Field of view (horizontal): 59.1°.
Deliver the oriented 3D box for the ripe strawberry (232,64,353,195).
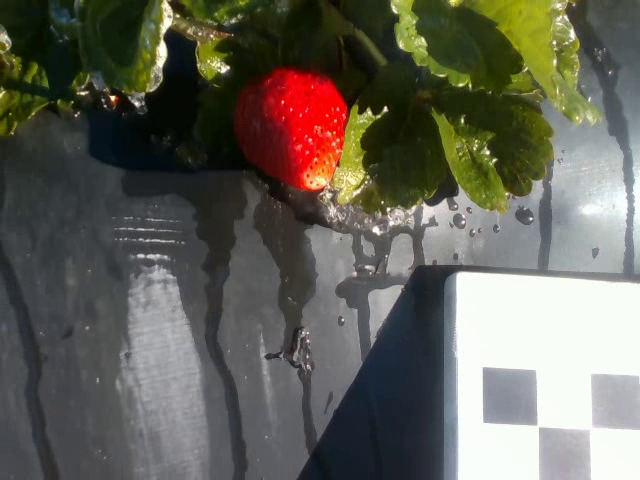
[{"bbox_3d":[-0.007,-0.032,0.176,0.041,0.047,0.053,-3,41,-4],"label":"ripe strawberry"}]
